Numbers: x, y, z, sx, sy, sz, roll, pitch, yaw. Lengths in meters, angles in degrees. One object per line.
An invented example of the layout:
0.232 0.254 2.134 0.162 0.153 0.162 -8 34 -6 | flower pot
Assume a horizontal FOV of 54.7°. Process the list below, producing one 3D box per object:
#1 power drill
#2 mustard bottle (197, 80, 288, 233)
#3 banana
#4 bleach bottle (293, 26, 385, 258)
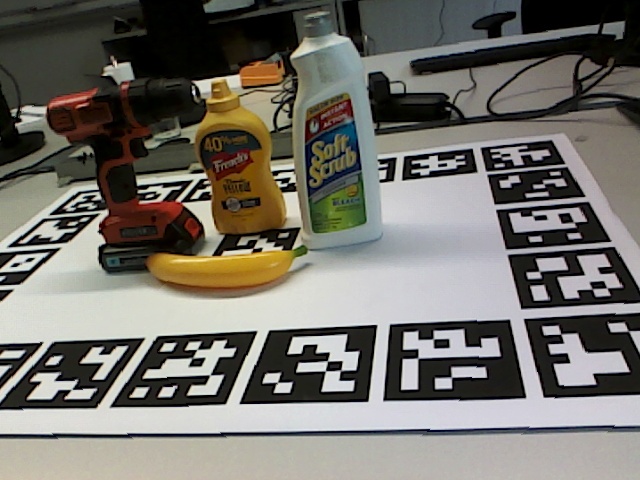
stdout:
-0.214 -0.085 0.741 0.185 0.186 0.057 -4 20 8 | power drill
-0.103 -0.104 0.779 0.096 0.191 0.058 -3 27 12 | mustard bottle
-0.108 0.028 0.686 0.198 0.038 0.074 -5 31 16 | banana
0.012 -0.105 0.691 0.103 0.250 0.068 -8 27 5 | bleach bottle
